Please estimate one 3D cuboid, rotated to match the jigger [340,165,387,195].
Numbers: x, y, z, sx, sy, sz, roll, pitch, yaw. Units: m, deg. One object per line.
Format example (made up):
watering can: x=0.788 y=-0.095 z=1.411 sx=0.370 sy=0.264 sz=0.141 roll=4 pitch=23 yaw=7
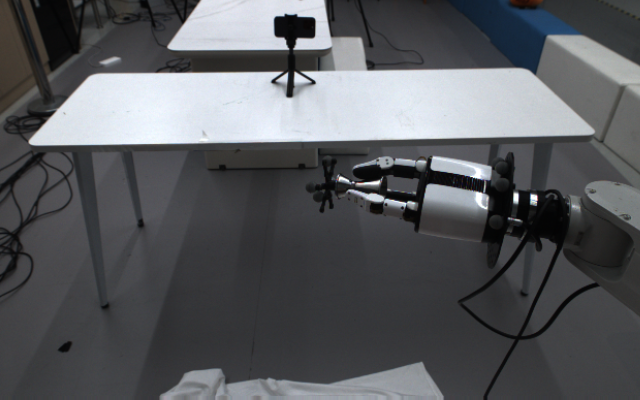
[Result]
jigger: x=0.067 y=-0.024 z=0.705 sx=0.071 sy=0.043 sz=0.043 roll=5 pitch=34 yaw=20
